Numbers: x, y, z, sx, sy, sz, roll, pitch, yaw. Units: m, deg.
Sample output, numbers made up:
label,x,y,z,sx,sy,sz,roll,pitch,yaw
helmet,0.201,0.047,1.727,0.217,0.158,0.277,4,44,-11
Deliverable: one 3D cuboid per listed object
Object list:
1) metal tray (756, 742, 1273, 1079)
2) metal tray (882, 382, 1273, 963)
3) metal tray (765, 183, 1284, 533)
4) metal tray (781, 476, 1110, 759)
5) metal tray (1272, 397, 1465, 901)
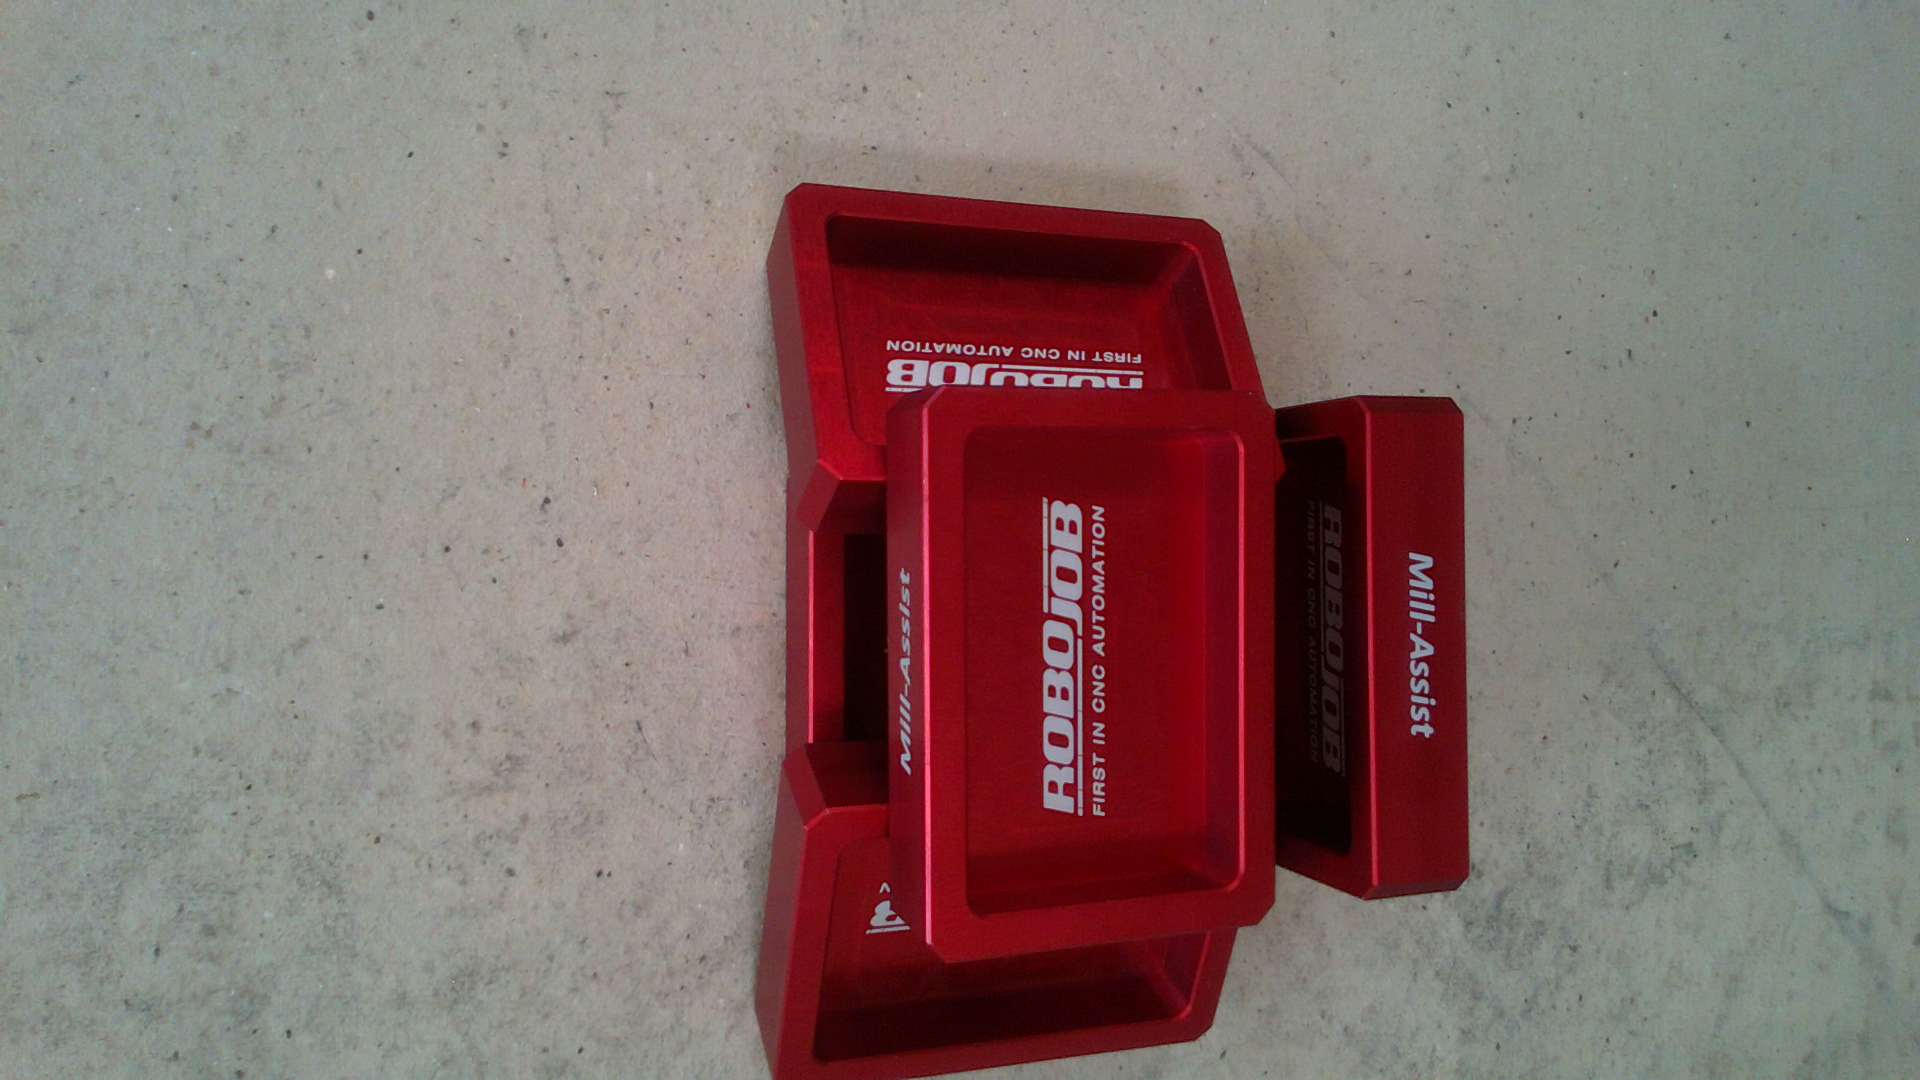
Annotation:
label,x,y,z,sx,sy,sz,roll,pitch,yaw
metal tray,0.014,0.099,0.378,0.130,0.030,0.090,0,115,-20
metal tray,0.029,0.029,0.333,0.090,0.030,0.130,-1,93,-20
metal tray,0.016,-0.048,0.379,0.130,0.030,0.090,0,63,-20
metal tray,0.016,0.022,0.395,0.130,0.030,0.090,-1,92,-20
metal tray,0.103,0.028,0.397,0.030,0.090,0.130,-1,91,-20
